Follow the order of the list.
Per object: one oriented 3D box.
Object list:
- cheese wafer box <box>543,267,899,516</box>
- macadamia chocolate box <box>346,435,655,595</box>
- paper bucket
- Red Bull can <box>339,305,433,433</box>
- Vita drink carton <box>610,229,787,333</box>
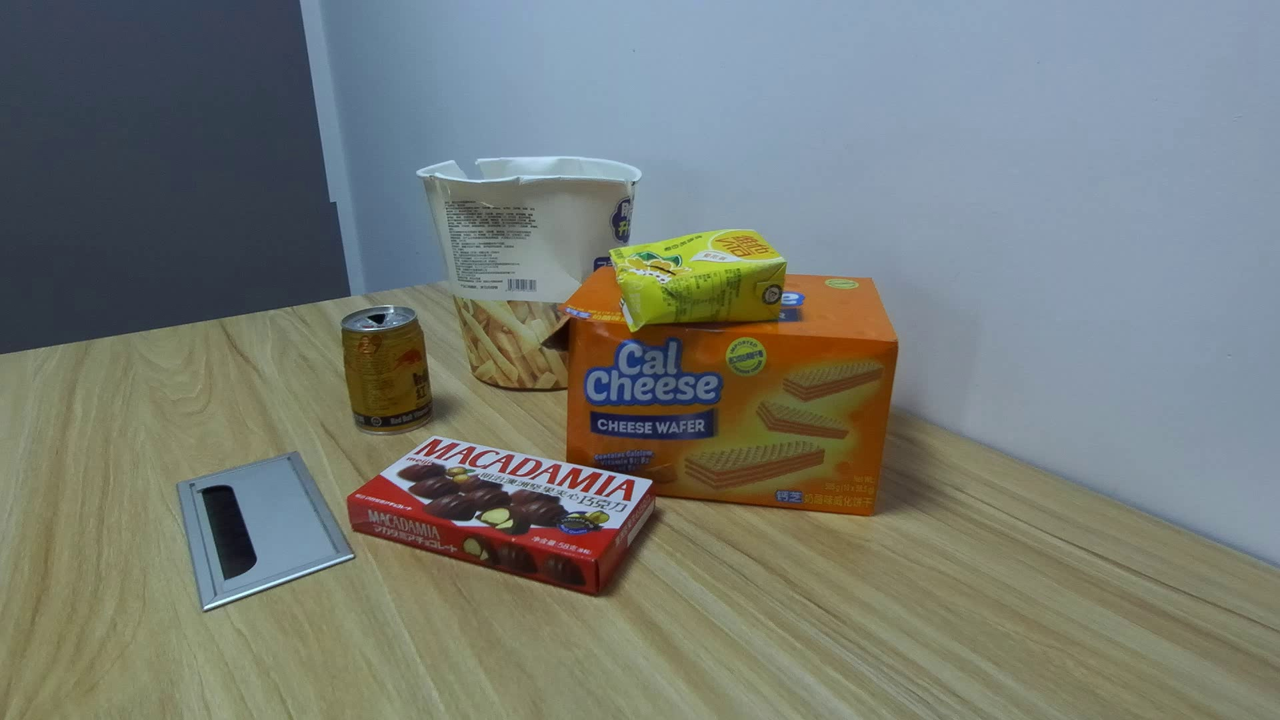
[{"bbox_3d":[0.062,0.011,0.525,0.227,0.137,0.149,4,23,9],"label":"cheese wafer box"},{"bbox_3d":[-0.089,0.096,0.465,0.177,0.027,0.096,9,23,20],"label":"macadamia chocolate box"},{"bbox_3d":[-0.101,-0.089,0.685,0.203,0.197,0.145,0,21,-1],"label":"paper bucket"},{"bbox_3d":[-0.212,0.008,0.594,0.068,0.093,0.068,0,22,0],"label":"Red Bull can"},{"bbox_3d":[0.035,-0.051,0.467,0.108,0.042,0.086,-7,31,-9],"label":"Vita drink carton"}]
